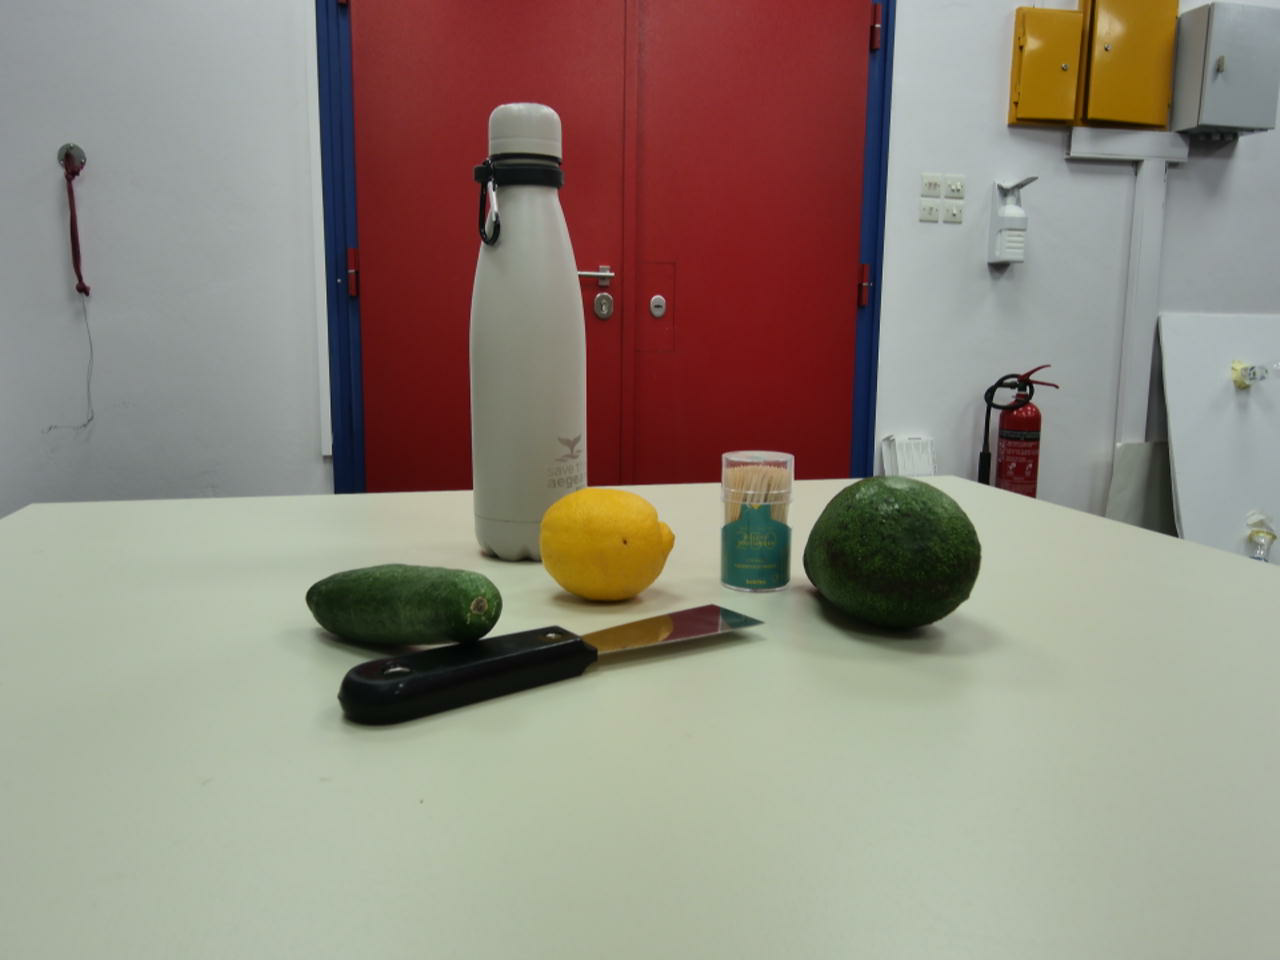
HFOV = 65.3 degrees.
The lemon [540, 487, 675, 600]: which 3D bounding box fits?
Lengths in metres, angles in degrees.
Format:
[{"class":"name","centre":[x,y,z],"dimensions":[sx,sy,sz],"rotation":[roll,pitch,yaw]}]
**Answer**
[{"class":"lemon","centre":[-0.019,0.034,0.530],"dimensions":[0.067,0.059,0.060],"rotation":[4,8,29]}]
